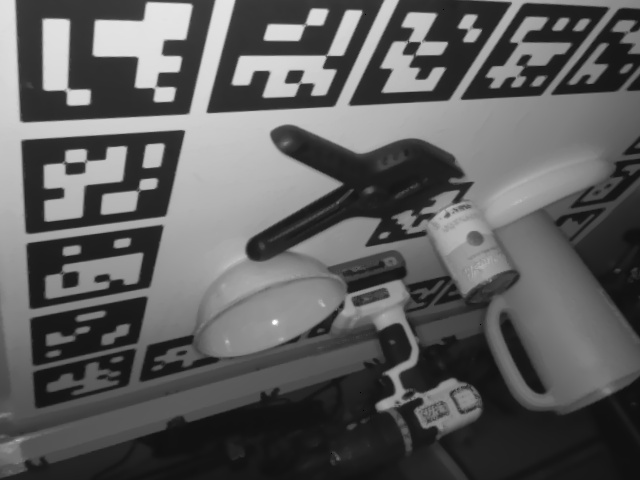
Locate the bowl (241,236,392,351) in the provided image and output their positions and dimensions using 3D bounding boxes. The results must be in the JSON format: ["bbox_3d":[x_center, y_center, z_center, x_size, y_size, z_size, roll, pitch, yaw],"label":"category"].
[{"bbox_3d":[-0.013,0.043,0.680,0.163,0.055,0.160,-21,148,-13],"label":"bowl"}]

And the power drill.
[{"bbox_3d":[0.092,0.134,0.735,0.187,0.187,0.056,-8,145,-27],"label":"power drill"}]

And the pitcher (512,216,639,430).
[{"bbox_3d":[0.313,0.098,0.835,0.190,0.242,0.132,-20,152,-11],"label":"pitcher"}]

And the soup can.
[{"bbox_3d":[0.204,0.015,0.764,0.068,0.102,0.067,-18,157,-7],"label":"soup can"}]

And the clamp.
[{"bbox_3d":[0.093,-0.063,0.606,0.206,0.036,0.163,-8,140,-30],"label":"clamp"}]

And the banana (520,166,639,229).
[{"bbox_3d":[0.315,-0.053,0.814,0.199,0.039,0.073,-19,157,-10],"label":"banana"}]
